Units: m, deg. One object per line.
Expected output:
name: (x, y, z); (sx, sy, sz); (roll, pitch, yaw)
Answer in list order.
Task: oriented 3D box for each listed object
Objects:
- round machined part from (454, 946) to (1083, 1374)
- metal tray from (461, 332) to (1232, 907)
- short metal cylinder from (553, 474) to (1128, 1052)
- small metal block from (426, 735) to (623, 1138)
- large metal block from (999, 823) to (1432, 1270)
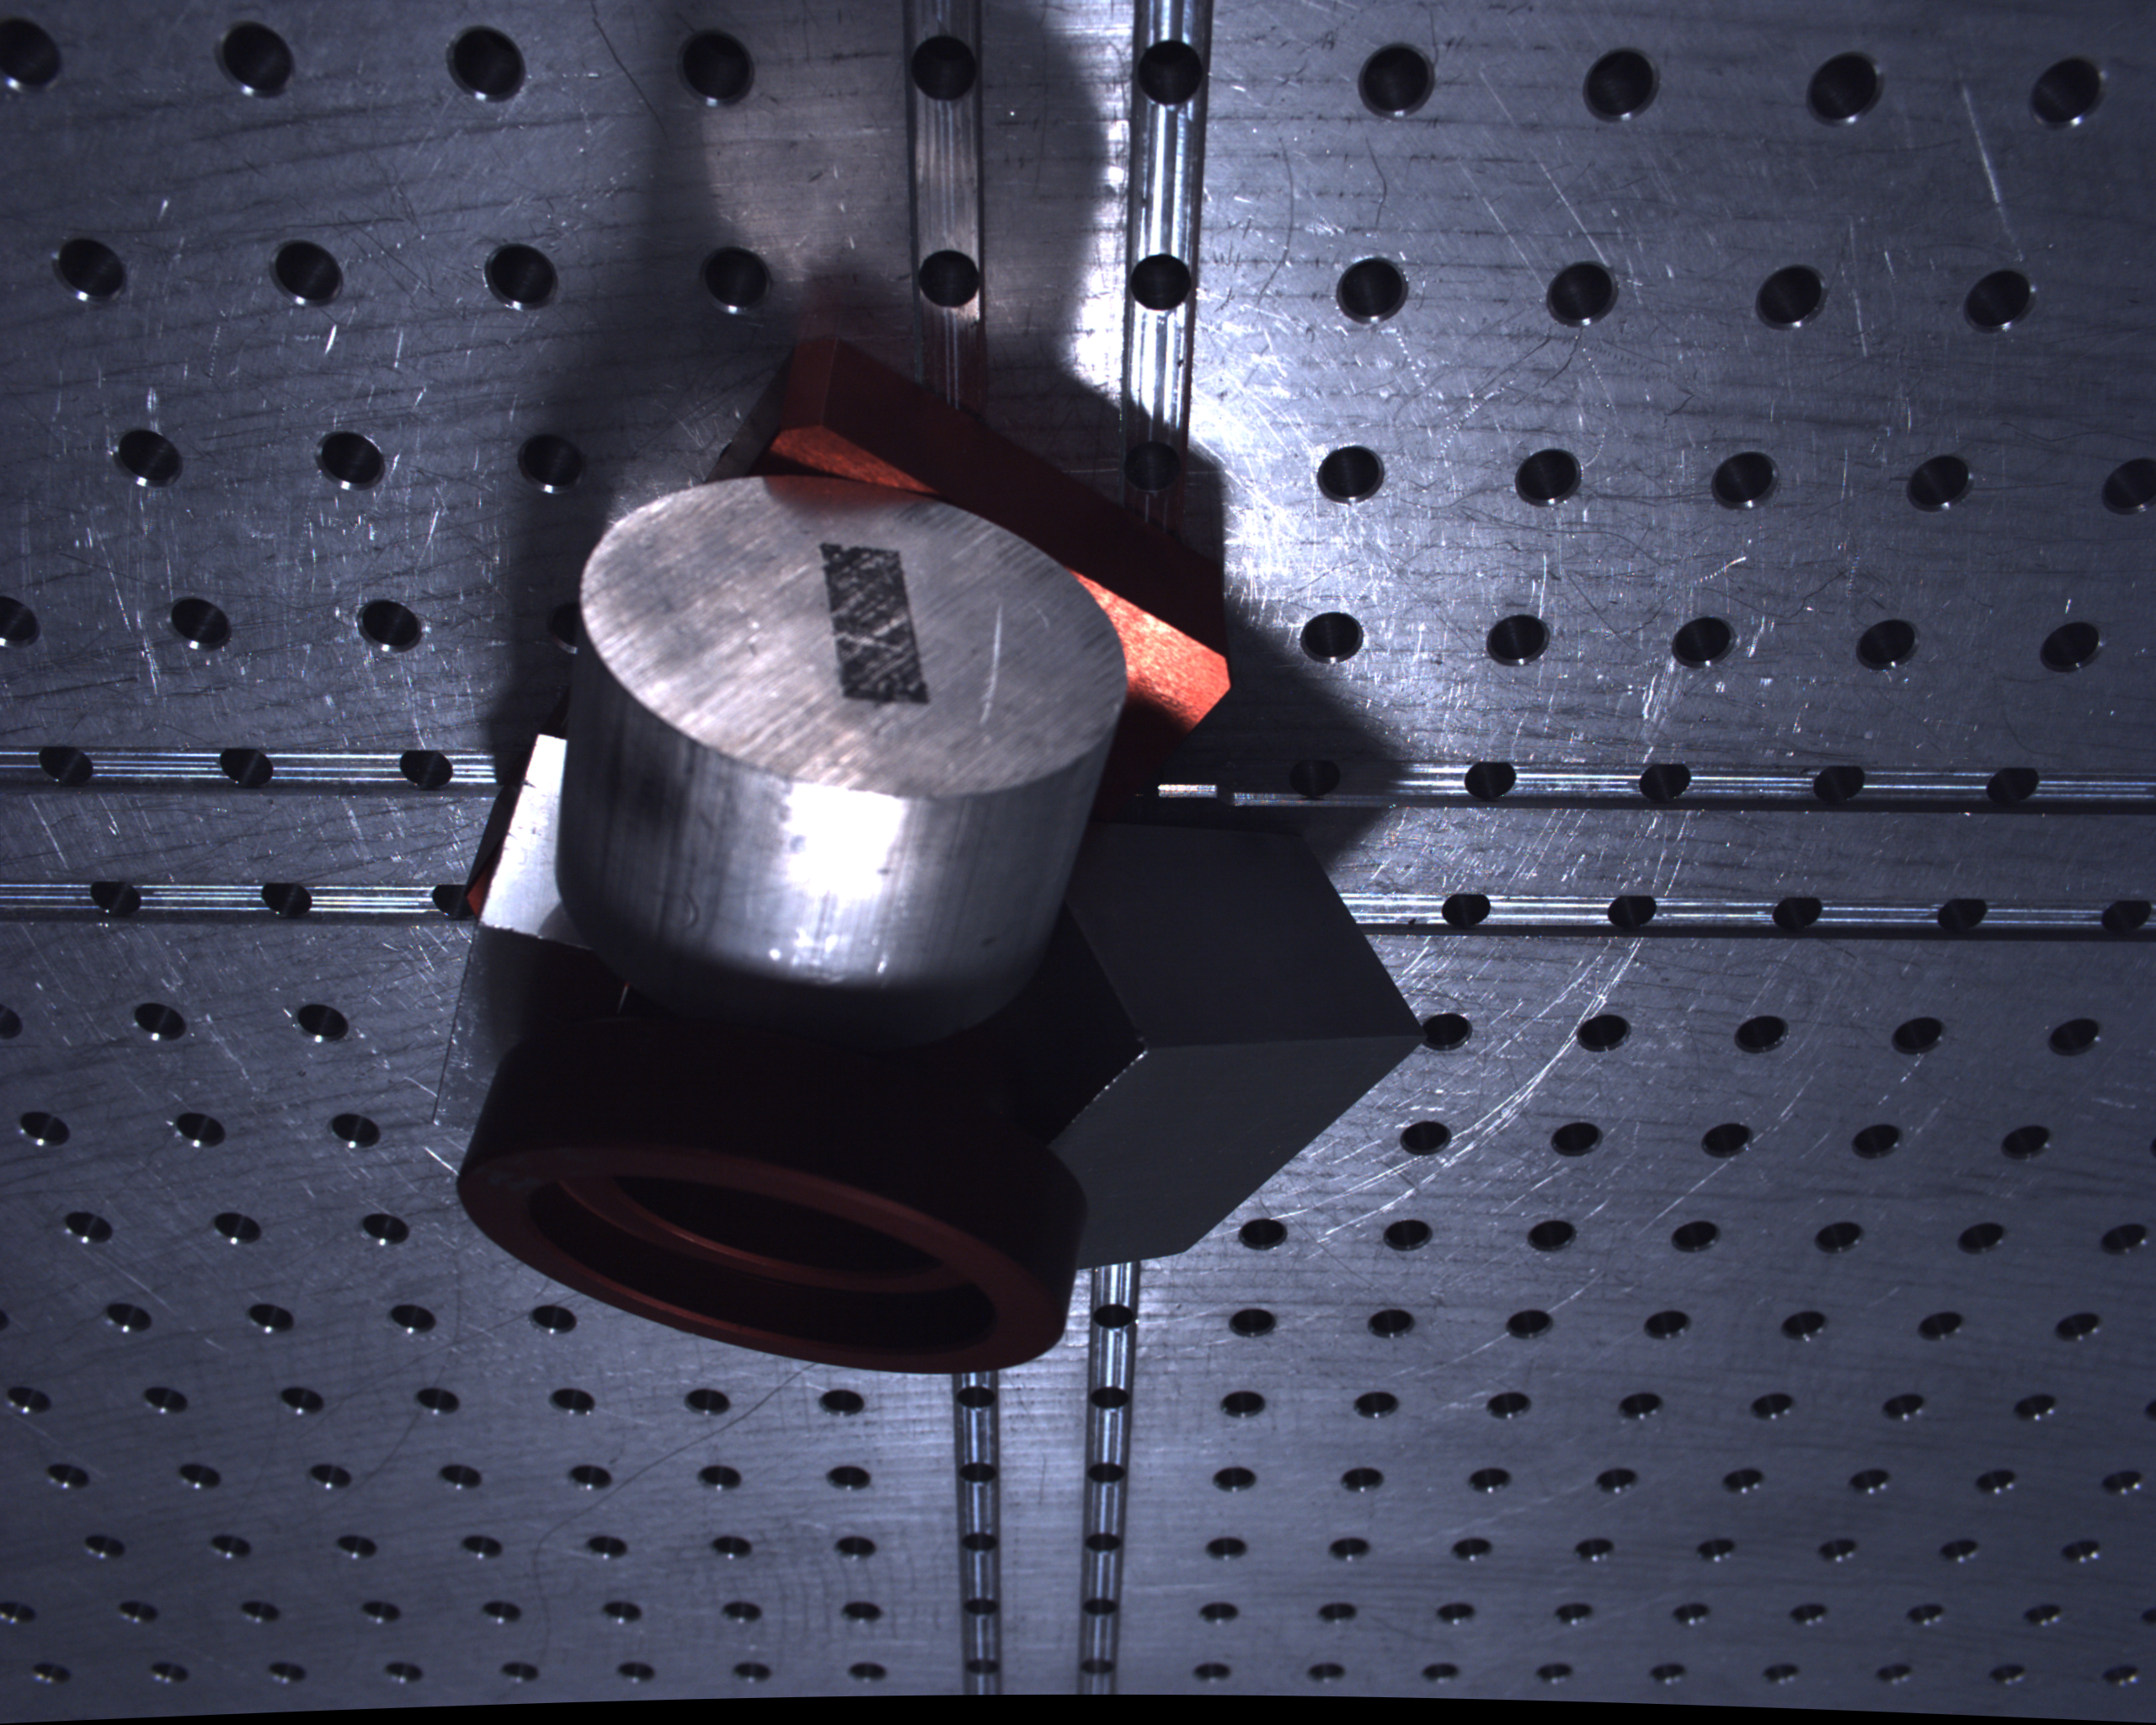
round machined part: (-0.047, 0.048, 0.342); (0.099, 0.042, 0.098); (9, 151, 6)
metal tray: (-0.045, -0.023, 0.389); (0.090, 0.030, 0.129); (28, 125, -22)
short metal cylinder: (-0.038, -0.017, 0.321); (0.081, 0.080, 0.050); (10, 129, -9)
small metal block: (-0.092, 0.015, 0.365); (0.025, 0.050, 0.050); (15, 128, -13)
large metal block: (0.006, 0.038, 0.404); (0.081, 0.050, 0.080); (3, 139, -45)
